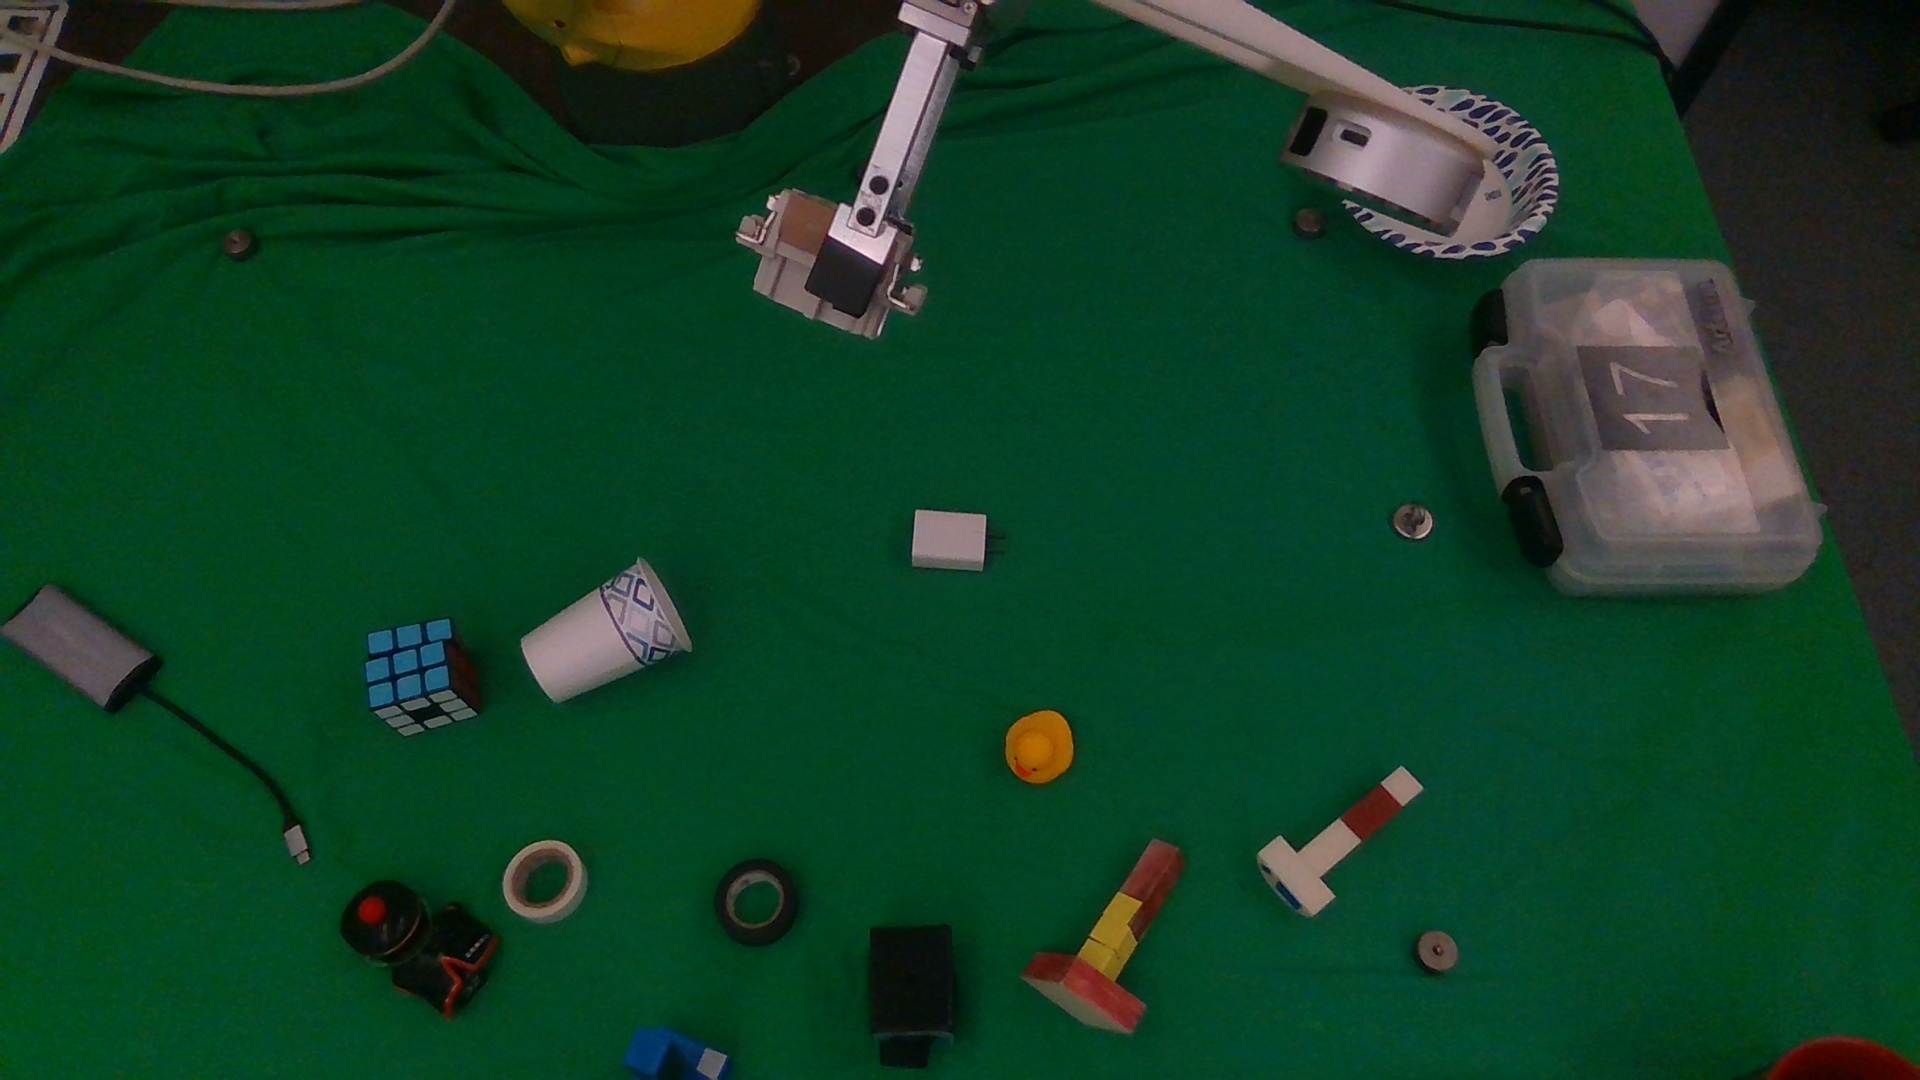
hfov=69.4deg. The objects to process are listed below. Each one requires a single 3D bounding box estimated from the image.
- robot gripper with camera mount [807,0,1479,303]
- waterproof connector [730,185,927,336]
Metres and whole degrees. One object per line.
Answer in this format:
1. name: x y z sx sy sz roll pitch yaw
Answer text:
1. robot gripper with camera mount: 0.061 -0.127 0.458 0.193 0.119 0.158 22 102 -6
2. waterproof connector: -0.044 -0.093 0.465 0.065 0.035 0.037 21 108 -1
